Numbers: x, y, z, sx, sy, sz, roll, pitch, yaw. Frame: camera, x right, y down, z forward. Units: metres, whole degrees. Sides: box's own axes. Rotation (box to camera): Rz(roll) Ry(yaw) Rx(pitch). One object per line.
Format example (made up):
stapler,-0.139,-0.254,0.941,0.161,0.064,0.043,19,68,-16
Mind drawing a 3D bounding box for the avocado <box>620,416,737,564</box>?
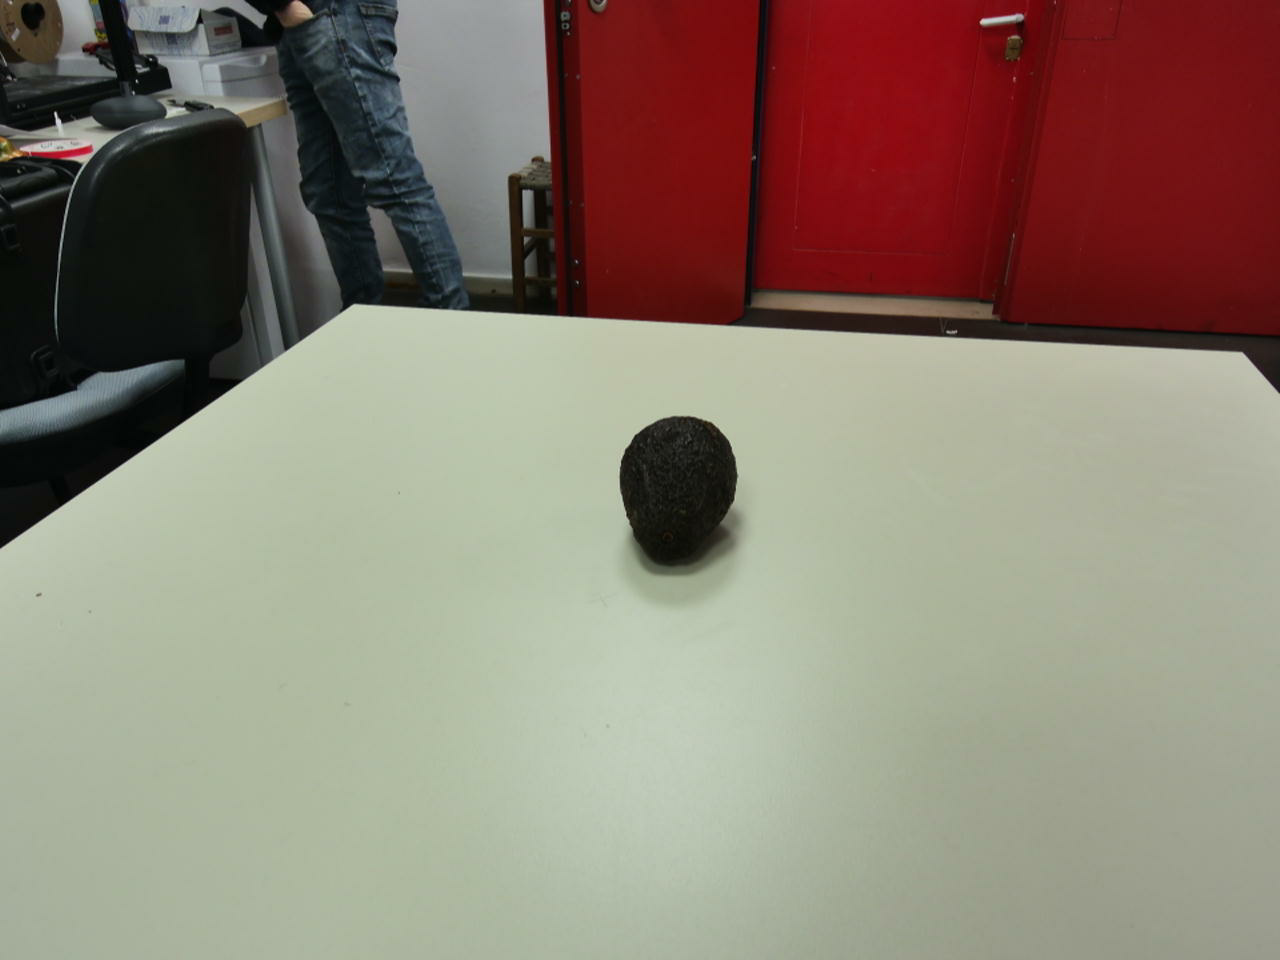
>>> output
avocado,0.019,0.001,0.585,0.070,0.069,0.090,16,32,33
